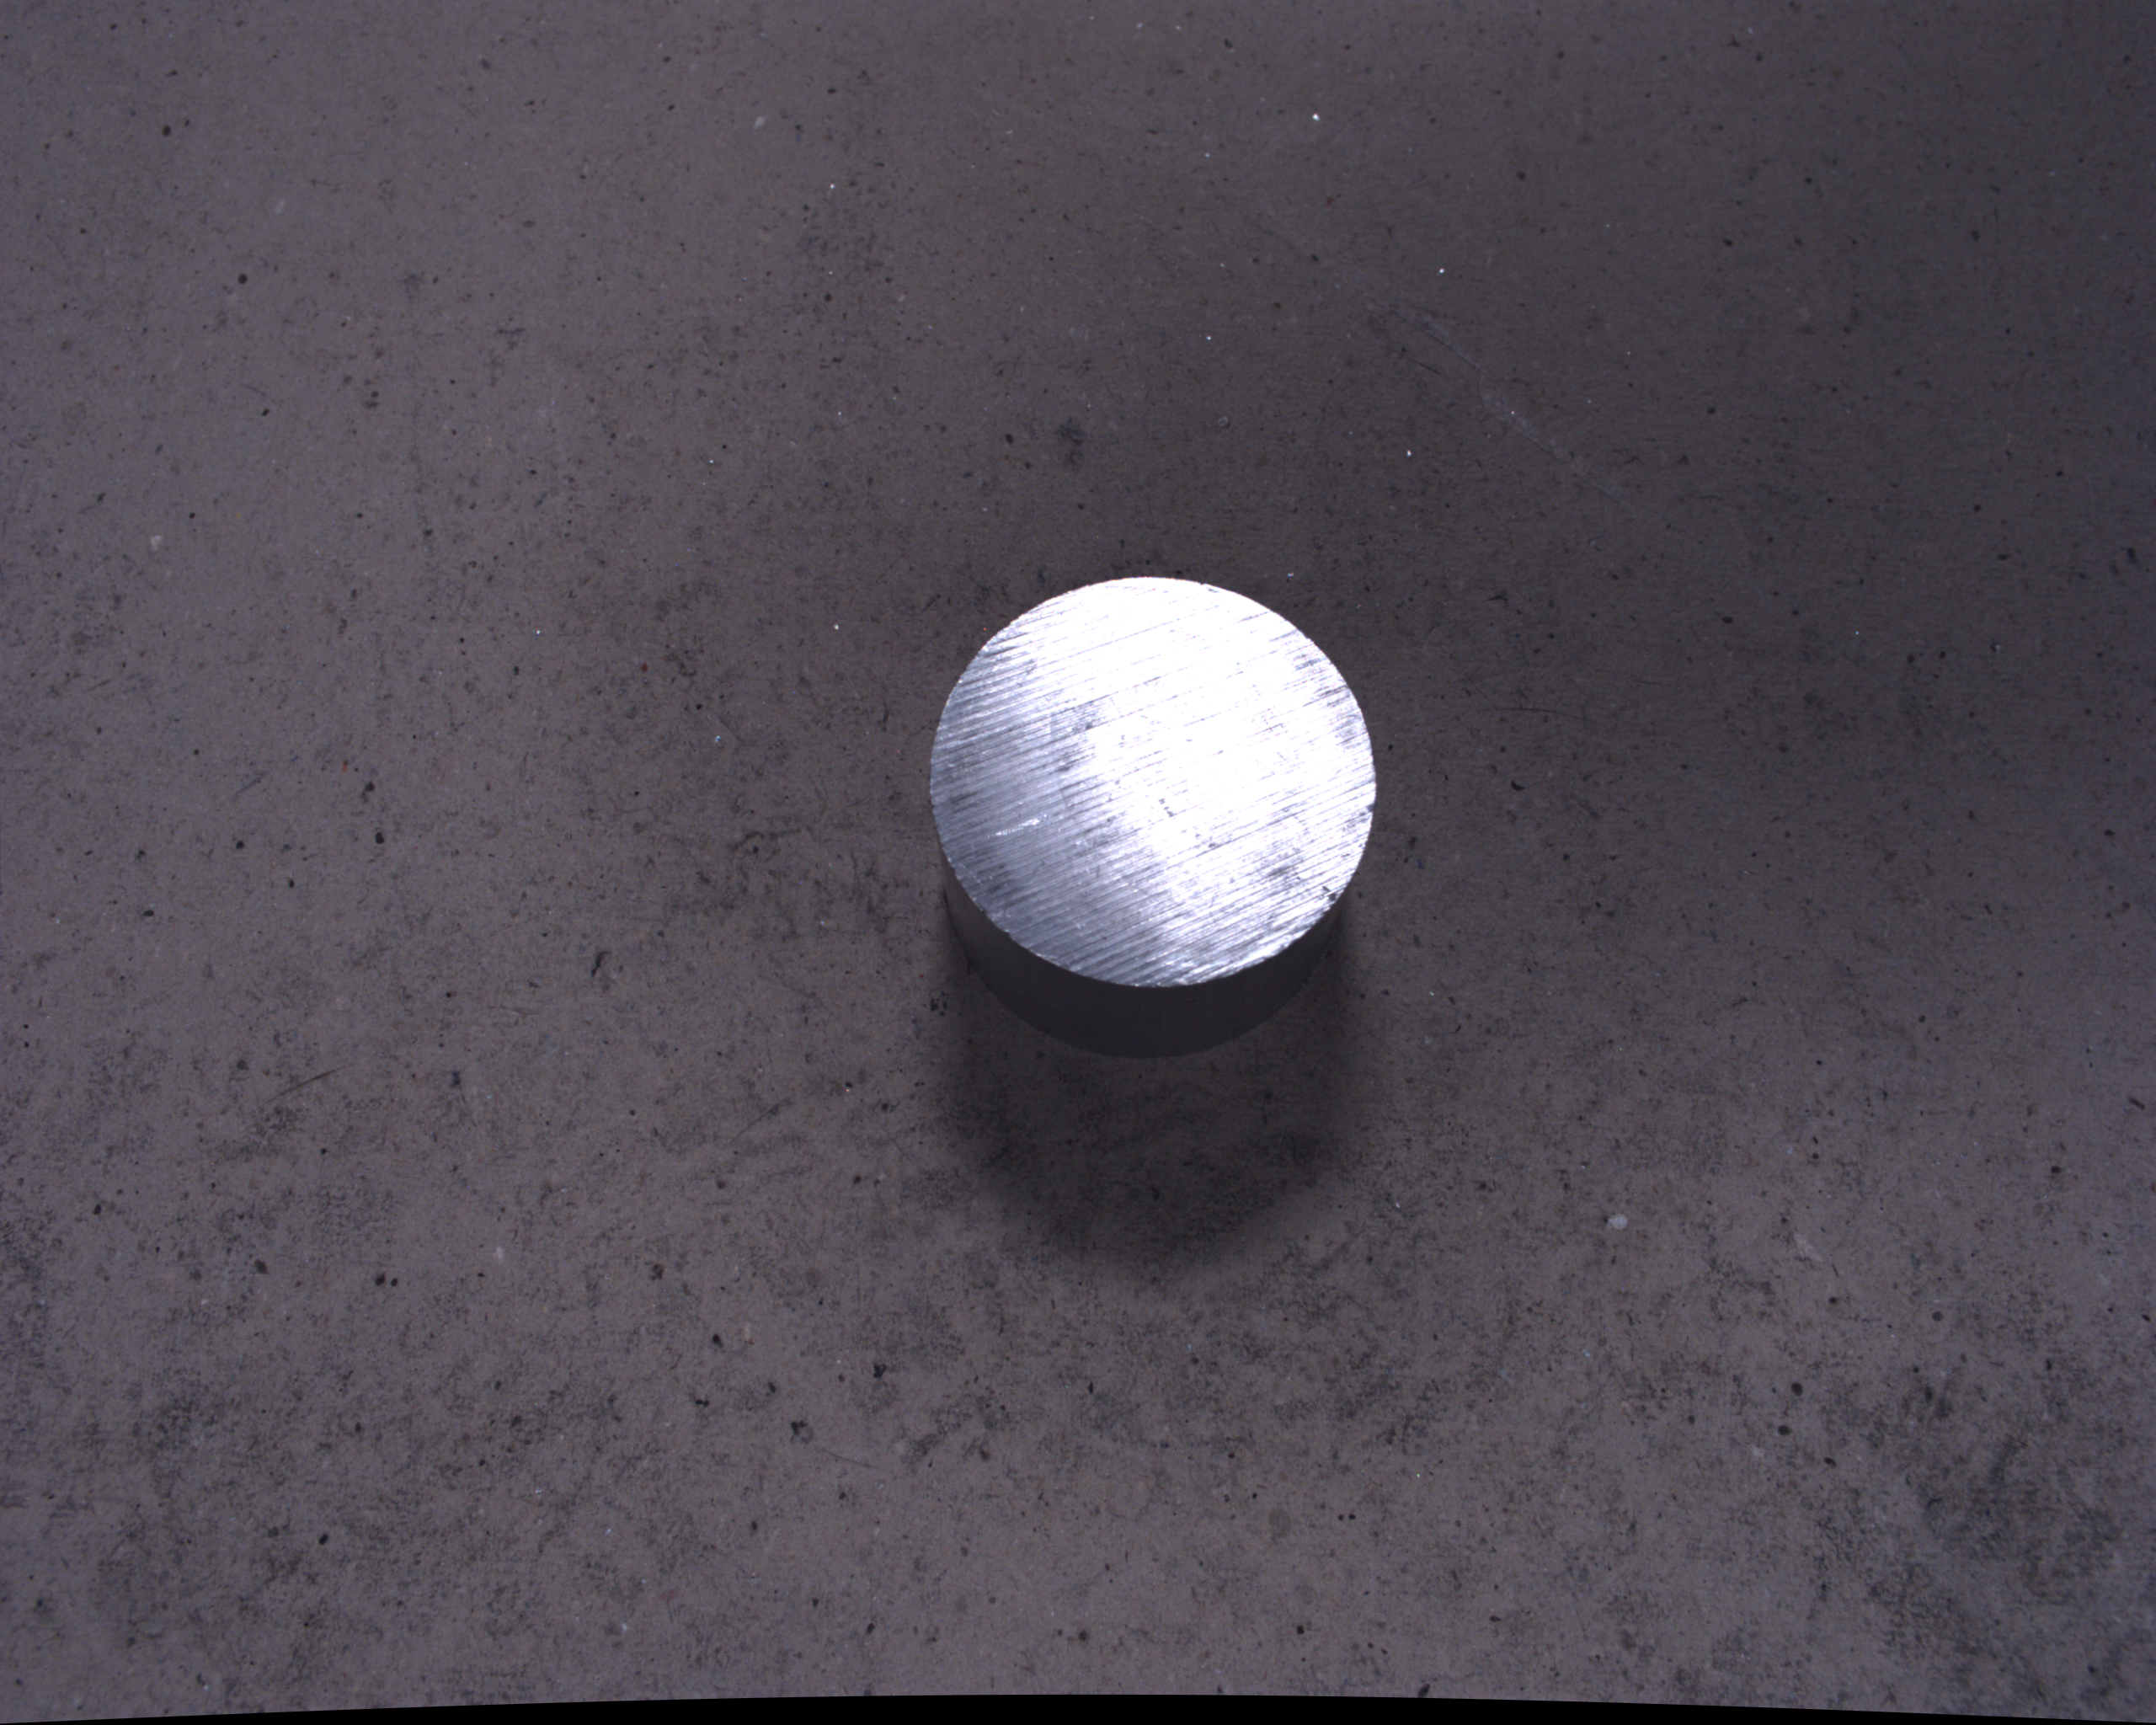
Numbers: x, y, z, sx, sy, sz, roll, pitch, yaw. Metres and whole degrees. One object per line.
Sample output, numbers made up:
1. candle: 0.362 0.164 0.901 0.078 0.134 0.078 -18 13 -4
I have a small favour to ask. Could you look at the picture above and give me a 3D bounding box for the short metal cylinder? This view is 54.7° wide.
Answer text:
1. short metal cylinder: 0.014 -0.008 0.399 0.081 0.050 0.080 0 70 0
